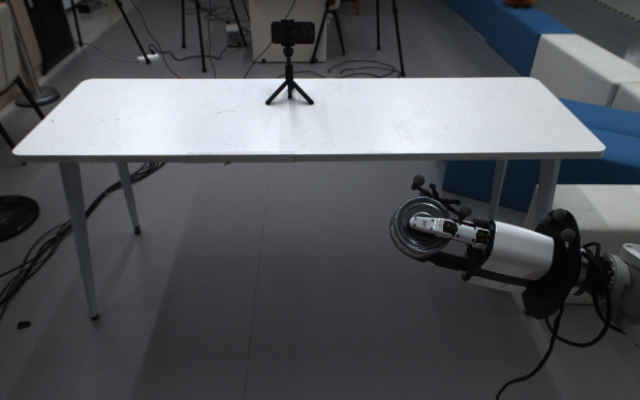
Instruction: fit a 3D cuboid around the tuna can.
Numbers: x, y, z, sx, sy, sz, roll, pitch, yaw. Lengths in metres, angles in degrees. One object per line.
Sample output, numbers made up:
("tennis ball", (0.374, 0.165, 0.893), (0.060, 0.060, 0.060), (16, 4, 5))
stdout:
("tuna can", (0.149, 0.046, 0.691), (0.085, 0.034, 0.085), (0, 74, 0))
